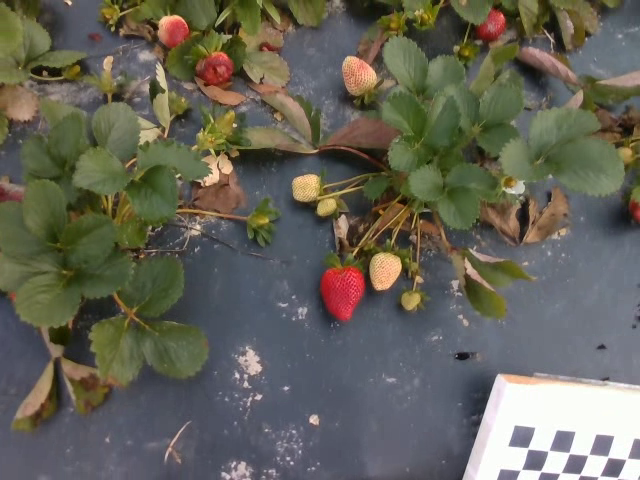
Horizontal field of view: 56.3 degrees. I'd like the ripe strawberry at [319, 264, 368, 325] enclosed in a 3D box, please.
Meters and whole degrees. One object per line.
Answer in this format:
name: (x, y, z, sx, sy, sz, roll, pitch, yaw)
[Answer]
ripe strawberry: (0.021, 0.049, 0.550, 0.050, 0.059, 0.034, -1, -33, -7)
